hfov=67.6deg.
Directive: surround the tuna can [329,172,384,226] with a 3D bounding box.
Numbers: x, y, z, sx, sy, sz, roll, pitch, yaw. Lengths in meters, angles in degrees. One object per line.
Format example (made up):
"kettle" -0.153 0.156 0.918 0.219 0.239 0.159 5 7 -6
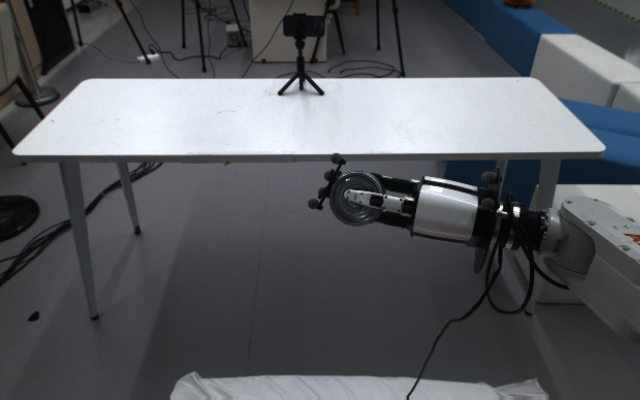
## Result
"tuna can" 0.059 -0.004 0.749 0.085 0.085 0.034 10 4 11
